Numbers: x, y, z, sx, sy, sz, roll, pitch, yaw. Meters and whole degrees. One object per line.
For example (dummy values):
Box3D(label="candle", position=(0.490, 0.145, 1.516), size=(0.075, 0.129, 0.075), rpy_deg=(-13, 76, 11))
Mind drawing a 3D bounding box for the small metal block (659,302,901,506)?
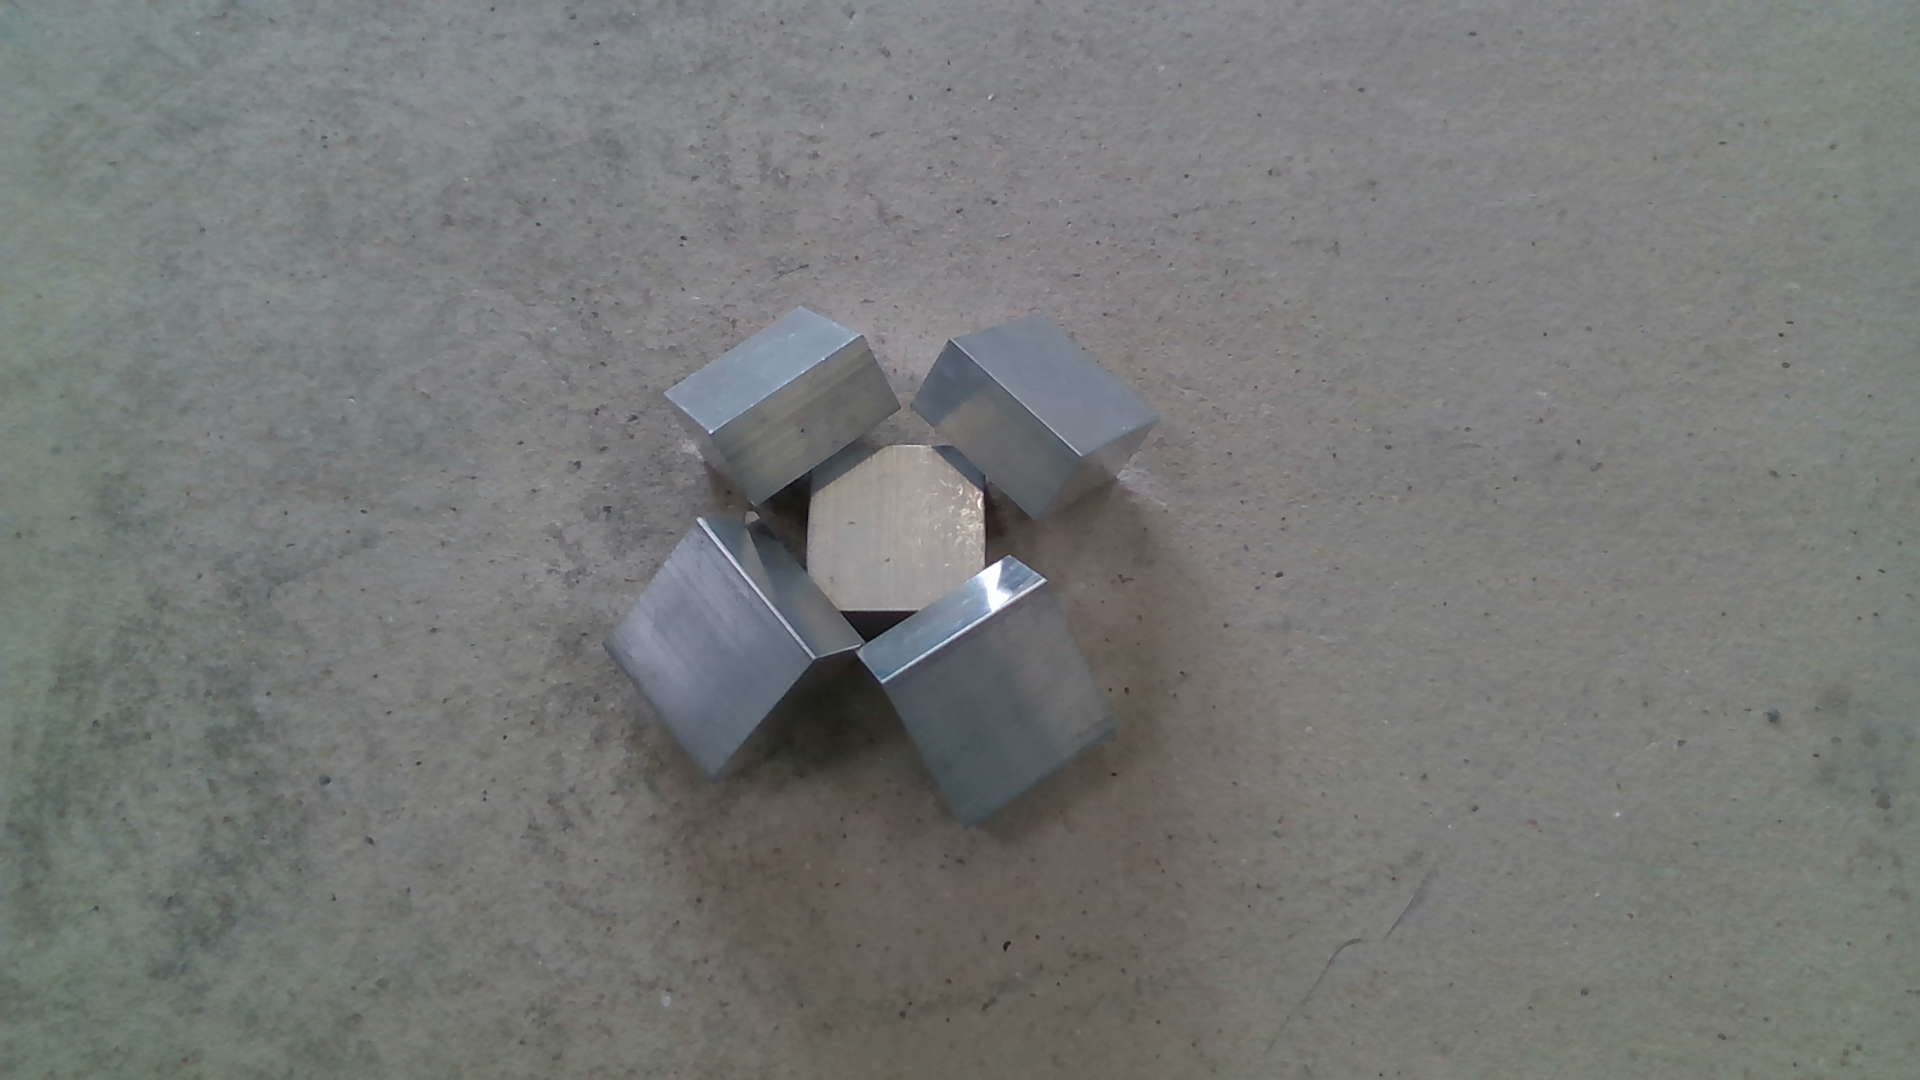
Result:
Box3D(label="small metal block", position=(-0.053, -0.041, 0.396), size=(0.050, 0.025, 0.050), rpy_deg=(-35, 30, -12))

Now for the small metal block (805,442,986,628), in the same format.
Box3D(label="small metal block", position=(-0.018, 0.000, 0.396), size=(0.050, 0.025, 0.050), rpy_deg=(0, 72, 0))

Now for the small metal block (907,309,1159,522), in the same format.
Box3D(label="small metal block", position=(0.022, -0.037, 0.395), size=(0.050, 0.025, 0.050), rpy_deg=(43, 34, 13))

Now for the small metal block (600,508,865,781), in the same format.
Box3D(label="small metal block", position=(-0.062, 0.027, 0.373), size=(0.050, 0.025, 0.050), rpy_deg=(48, 115, 15))

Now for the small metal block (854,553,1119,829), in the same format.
Box3D(label="small metal block", position=(0.007, 0.040, 0.368), size=(0.050, 0.025, 0.050), rpy_deg=(-32, 114, -10))
